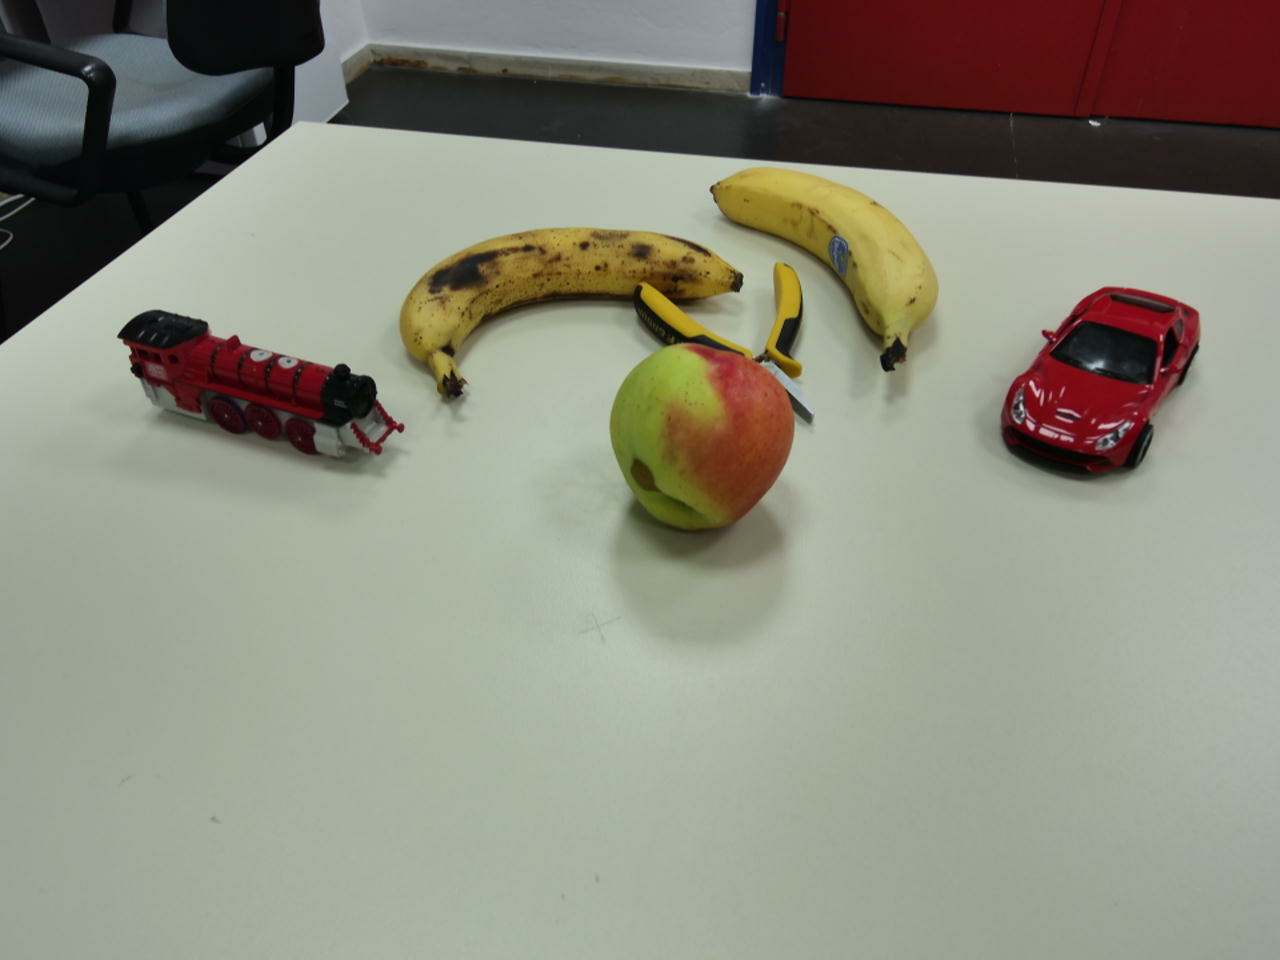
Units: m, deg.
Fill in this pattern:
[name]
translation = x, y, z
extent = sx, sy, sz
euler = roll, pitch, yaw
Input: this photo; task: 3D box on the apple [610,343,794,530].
[apple]
translation = 0.025, -0.018, 0.407
extent = 0.075, 0.074, 0.075
euler = -3, 38, -5
